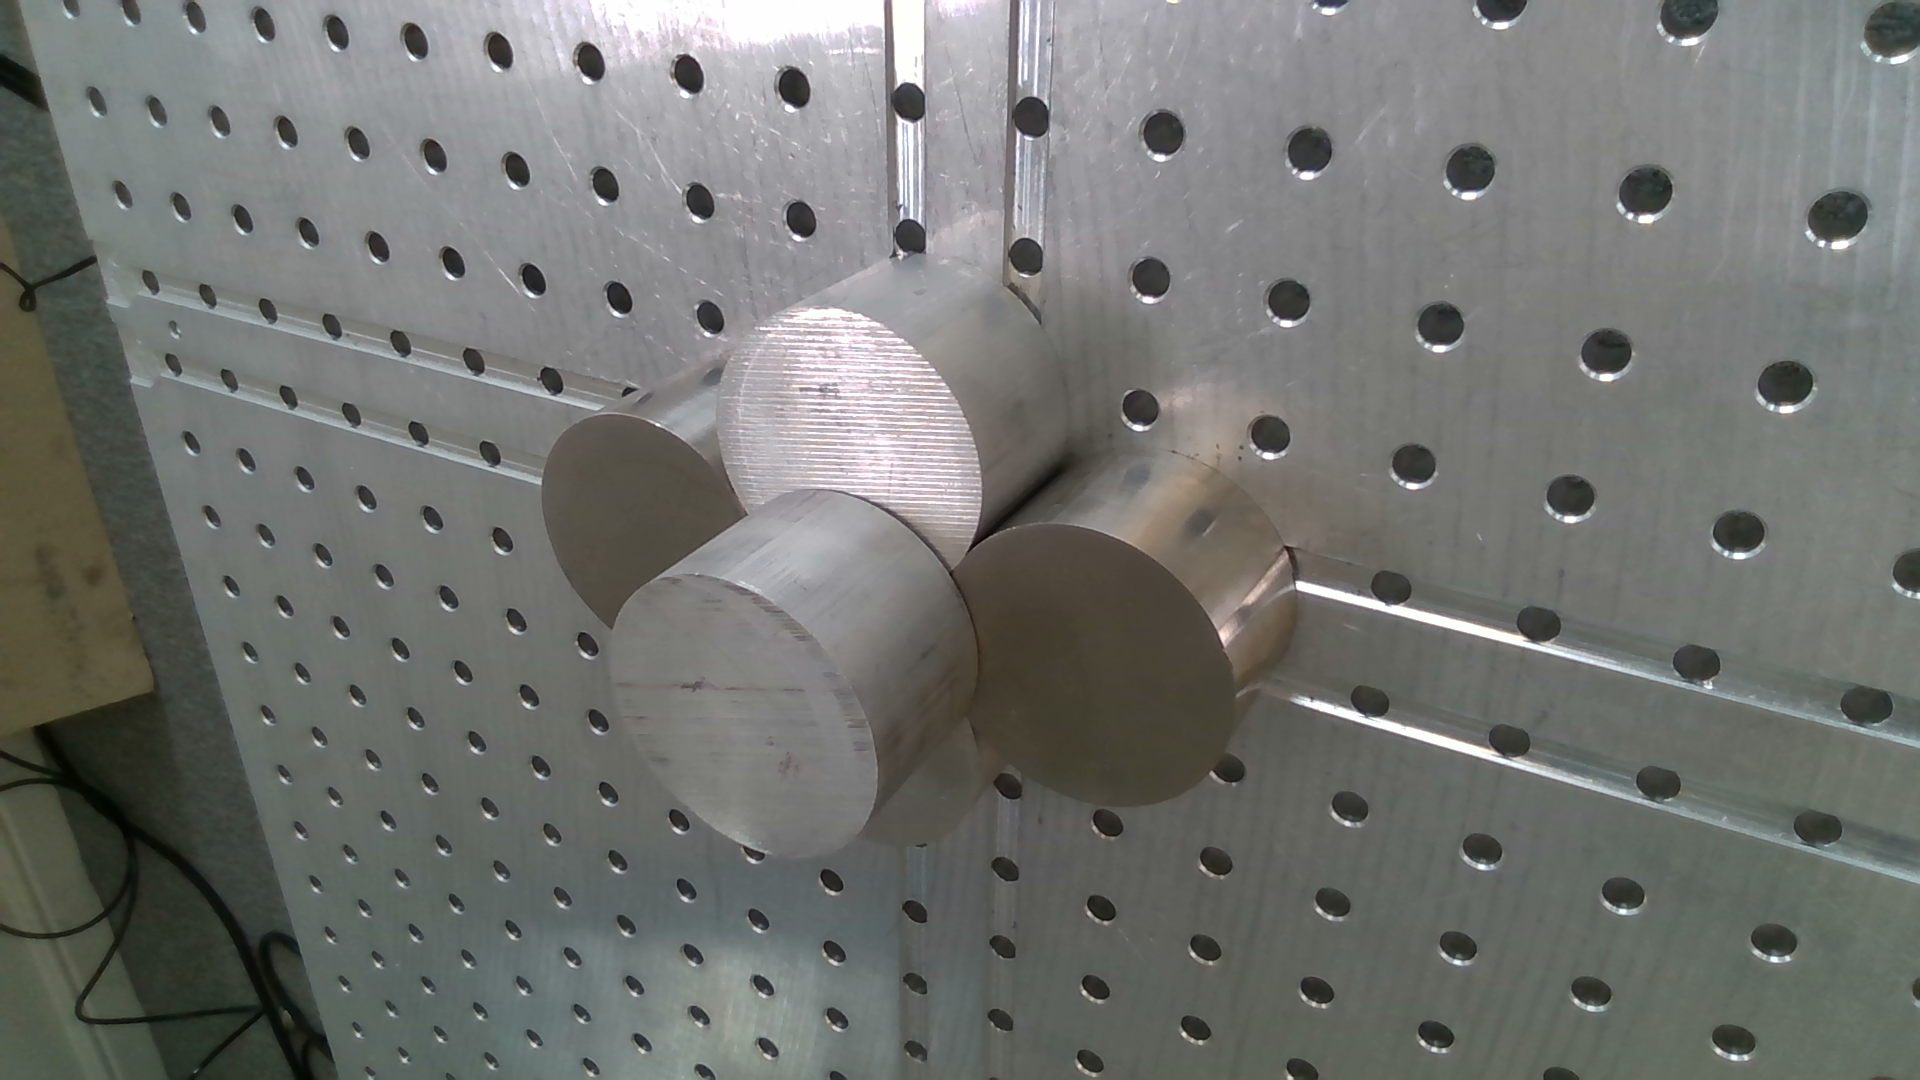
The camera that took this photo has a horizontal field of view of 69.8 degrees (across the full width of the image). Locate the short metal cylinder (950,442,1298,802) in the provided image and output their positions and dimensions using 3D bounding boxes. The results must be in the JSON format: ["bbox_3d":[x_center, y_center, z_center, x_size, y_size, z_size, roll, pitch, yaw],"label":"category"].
[{"bbox_3d":[0.042,0.021,0.361,0.080,0.050,0.080,15,123,24],"label":"short metal cylinder"}]

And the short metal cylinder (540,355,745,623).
[{"bbox_3d":[-0.079,-0.010,0.418,0.080,0.050,0.080,13,122,23],"label":"short metal cylinder"}]

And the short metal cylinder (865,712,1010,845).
[{"bbox_3d":[-0.018,0.043,0.410,0.080,0.050,0.080,14,122,25],"label":"short metal cylinder"}]

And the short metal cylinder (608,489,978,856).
[{"bbox_3d":[-0.042,0.033,0.354,0.080,0.050,0.080,15,122,25],"label":"short metal cylinder"}]

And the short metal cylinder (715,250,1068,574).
[{"bbox_3d":[-0.018,-0.032,0.369,0.080,0.050,0.080,15,122,25],"label":"short metal cylinder"}]
